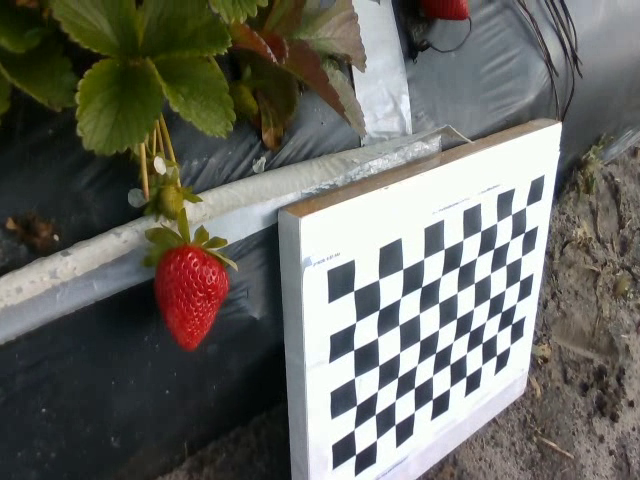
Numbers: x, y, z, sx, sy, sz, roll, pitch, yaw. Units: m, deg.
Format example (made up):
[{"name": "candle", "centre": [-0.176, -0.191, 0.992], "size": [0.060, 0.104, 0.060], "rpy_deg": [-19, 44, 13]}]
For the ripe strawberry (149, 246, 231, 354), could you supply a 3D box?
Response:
[{"name": "ripe strawberry", "centre": [-0.057, 0.026, 0.288], "size": [0.030, 0.052, 0.048], "rpy_deg": [-7, -24, 35]}]
